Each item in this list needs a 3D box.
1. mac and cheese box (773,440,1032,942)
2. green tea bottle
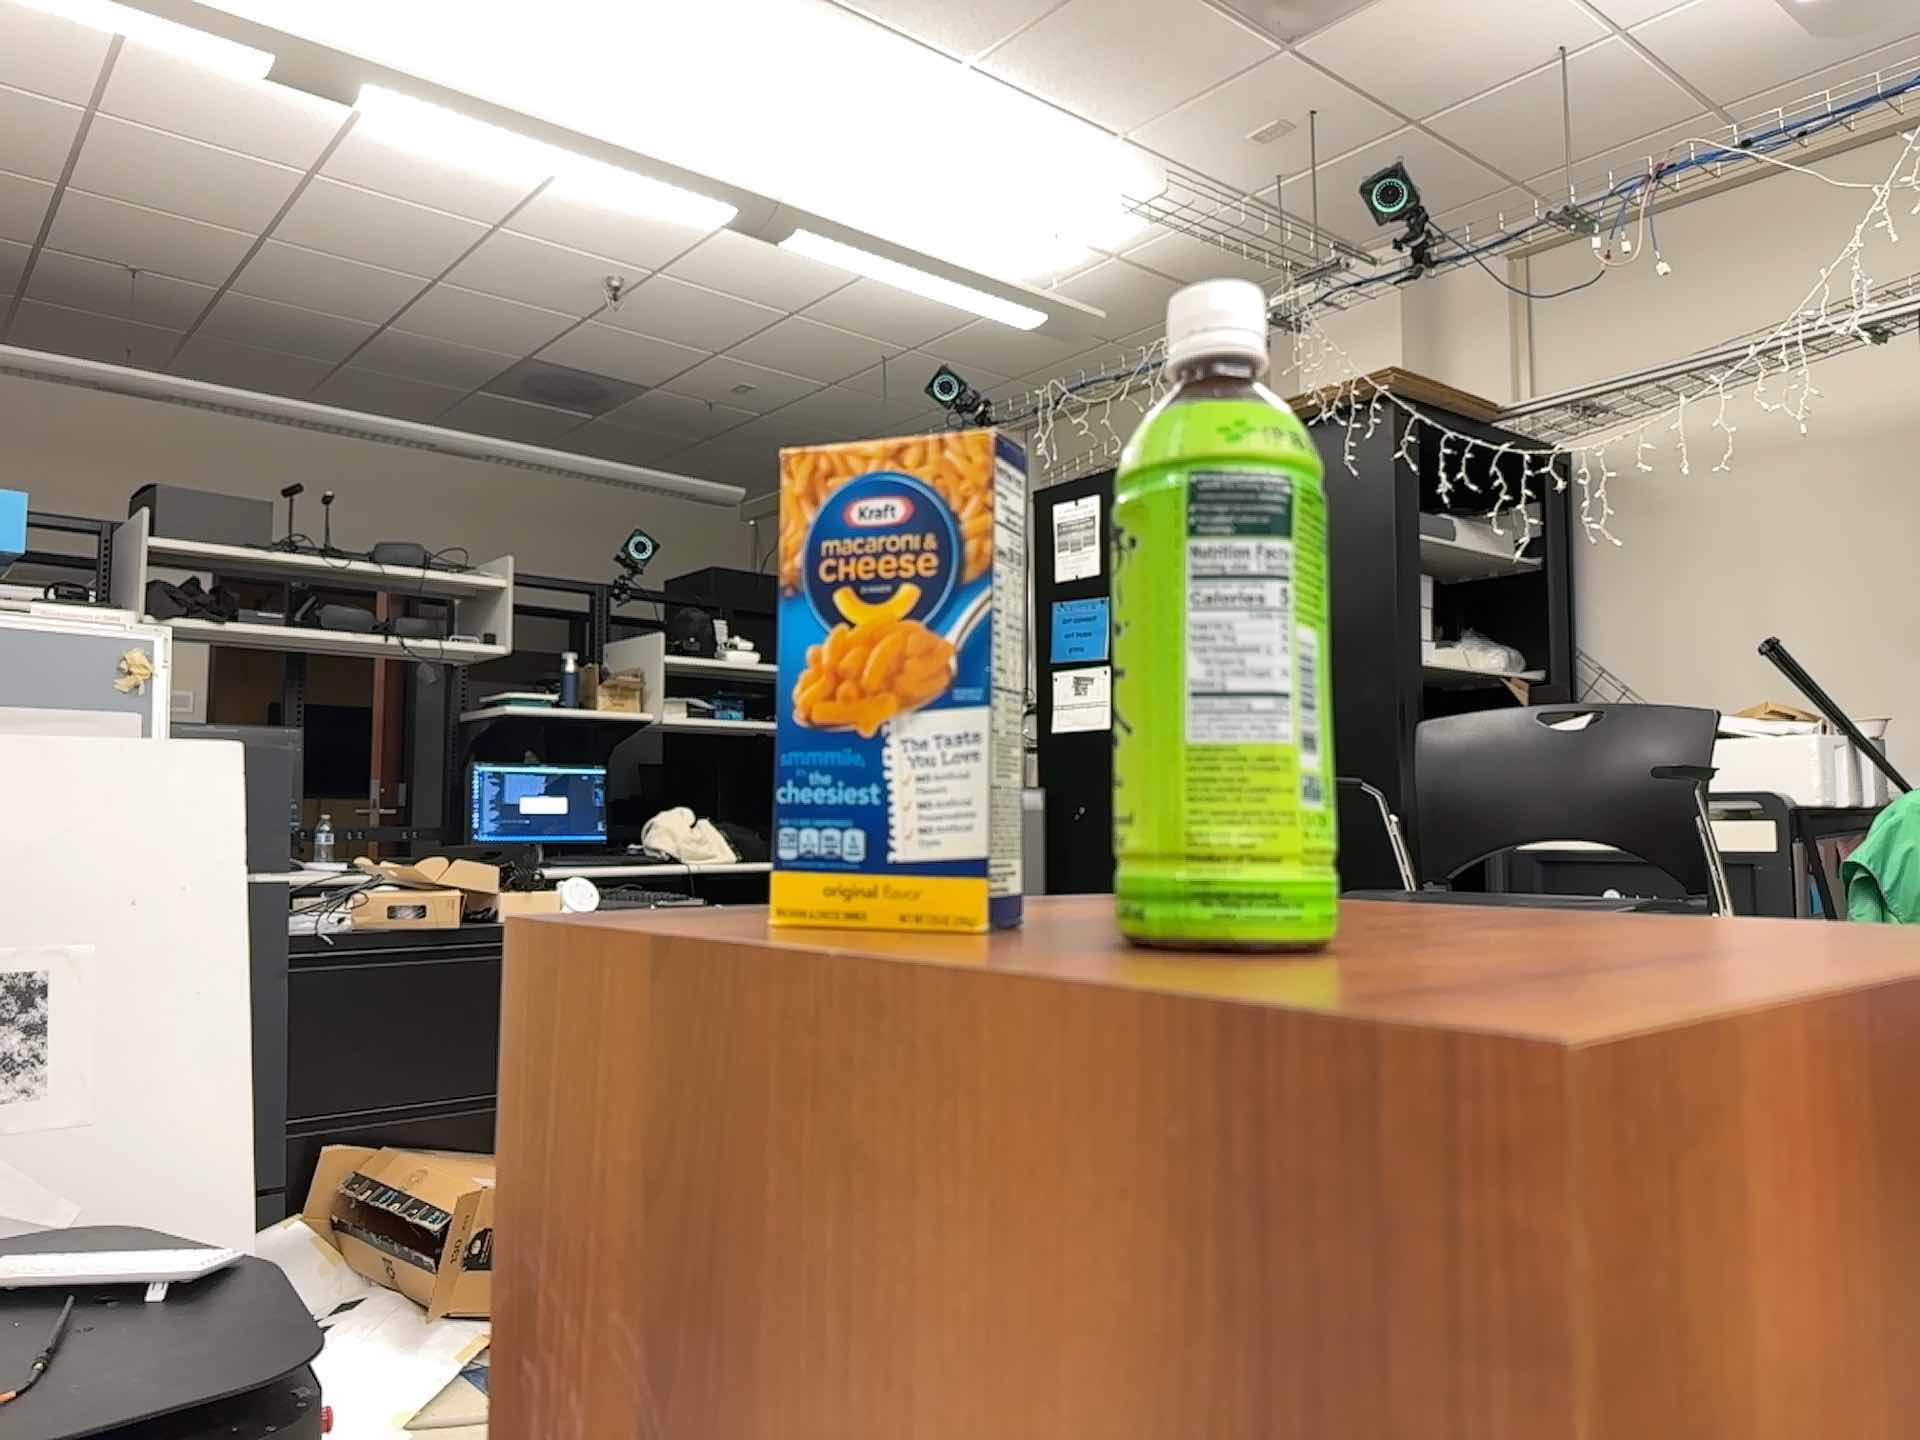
[{"bbox_3d":[-0.021,-0.009,0.516,0.088,0.181,0.035,-3,-8,26],"label":"mac and cheese box"},{"bbox_3d":[0.084,-0.035,0.435,0.073,0.212,0.073,3,-7,0],"label":"green tea bottle"}]
